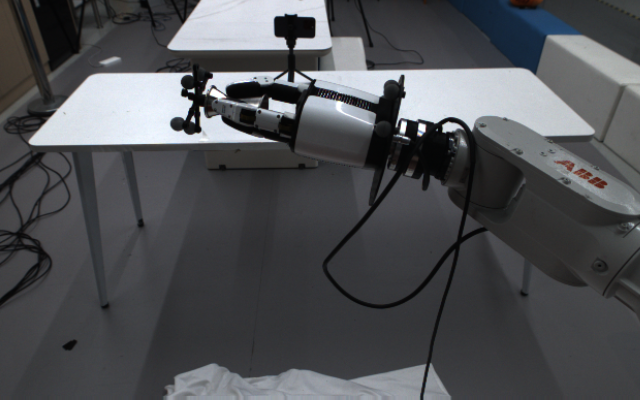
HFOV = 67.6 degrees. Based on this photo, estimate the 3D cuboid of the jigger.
[{"bbox_3d":[-0.094,-0.115,0.589,0.071,0.043,0.043,11,35,5],"label":"jigger"}]
